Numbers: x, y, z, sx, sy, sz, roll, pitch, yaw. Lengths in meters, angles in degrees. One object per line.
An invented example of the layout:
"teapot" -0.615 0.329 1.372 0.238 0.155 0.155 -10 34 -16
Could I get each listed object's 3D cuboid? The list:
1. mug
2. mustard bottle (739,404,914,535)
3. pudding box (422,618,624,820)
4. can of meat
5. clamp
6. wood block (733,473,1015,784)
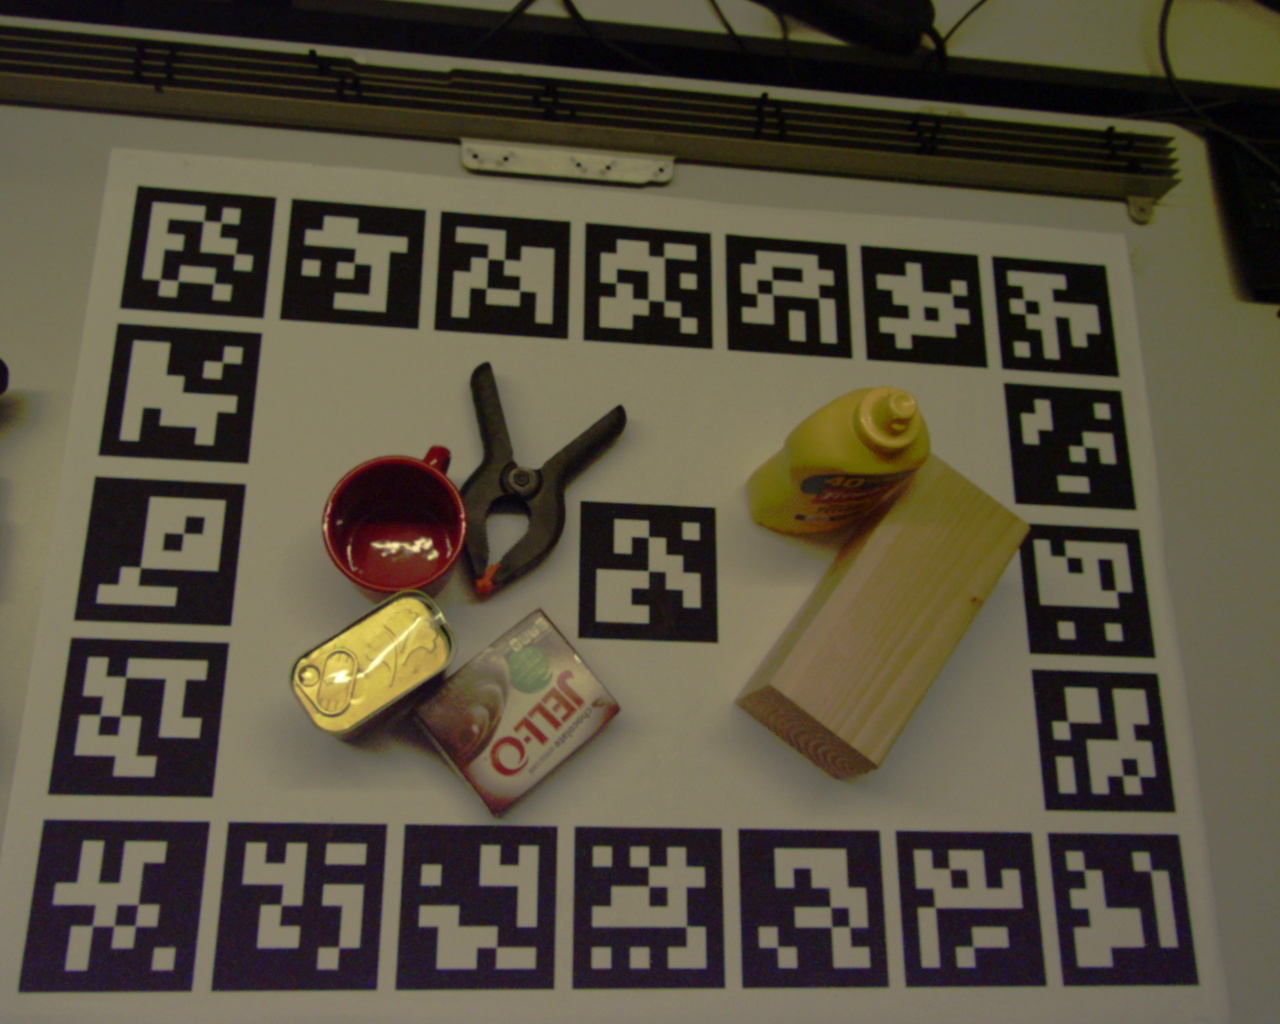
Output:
"mug" -0.168 0.016 0.823 0.093 0.081 0.117 24 74 -2
"mustard bottle" 0.137 -0.032 0.800 0.096 0.192 0.058 -2 76 -10
"pudding box" -0.082 0.144 0.800 0.113 0.039 0.090 -38 84 -18
"can of meat" -0.174 0.112 0.765 0.101 0.084 0.058 -28 82 -15
"clamp" -0.088 -0.018 0.849 0.121 0.037 0.165 21 74 -4
"wood block" 0.169 0.084 0.831 0.090 0.091 0.205 37 71 4
